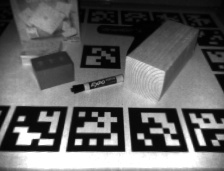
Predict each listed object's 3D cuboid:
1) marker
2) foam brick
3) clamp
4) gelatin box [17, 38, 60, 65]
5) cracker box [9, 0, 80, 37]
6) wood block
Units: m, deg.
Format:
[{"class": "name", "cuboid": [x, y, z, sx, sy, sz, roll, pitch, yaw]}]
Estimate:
[{"class": "marker", "cuboid": [-0.052, -0.004, 0.480, 0.122, 0.020, 0.019, -15, 51, -16]}, {"class": "foam brick", "cuboid": [-0.142, -0.037, 0.485, 0.078, 0.051, 0.052, -19, 53, -18]}, {"class": "clamp", "cuboid": [0.070, -0.166, 0.626, 0.204, 0.037, 0.163, -24, 54, -22]}, {"class": "gelatin box", "cuboid": [-0.184, -0.088, 0.548, 0.089, 0.030, 0.073, 0, 49, -3]}, {"class": "cracker box", "cuboid": [-0.169, -0.228, 0.543, 0.165, 0.214, 0.071, -2, 46, -6]}, {"class": "wood block", "cuboid": [0.110, -0.072, 0.510, 0.089, 0.091, 0.207, 26, 49, 23]}]
